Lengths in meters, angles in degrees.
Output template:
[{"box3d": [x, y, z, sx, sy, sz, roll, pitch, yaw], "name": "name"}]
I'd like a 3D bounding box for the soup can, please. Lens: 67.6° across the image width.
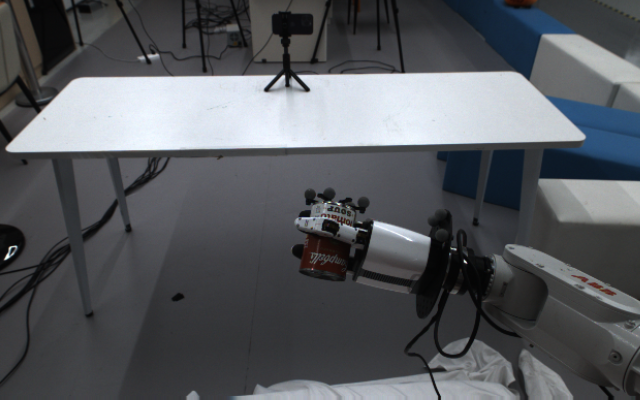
[{"box3d": [0.013, 0.060, 0.690, 0.067, 0.067, 0.101, 8, 72, 9], "name": "soup can"}]
